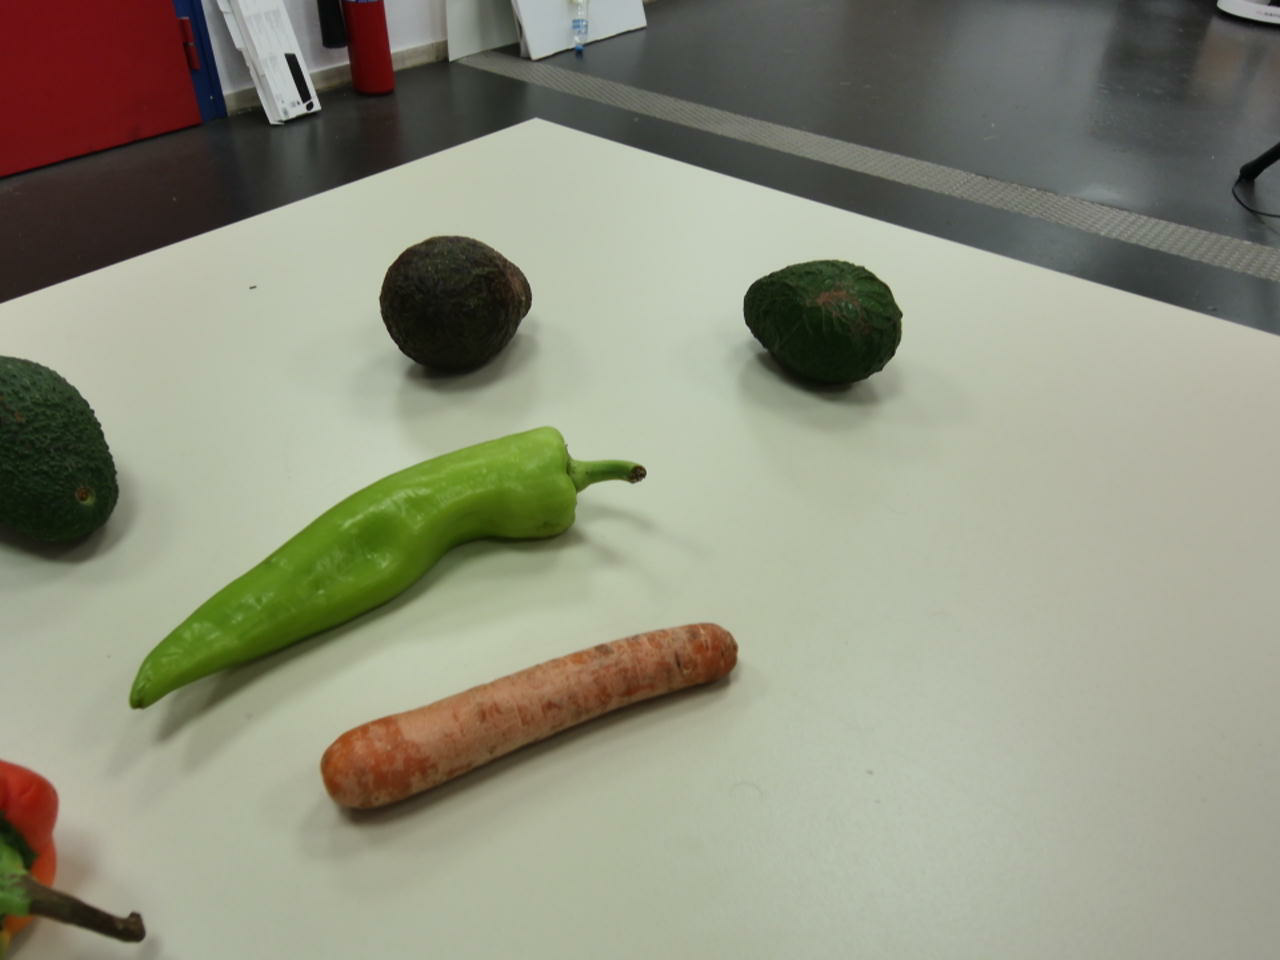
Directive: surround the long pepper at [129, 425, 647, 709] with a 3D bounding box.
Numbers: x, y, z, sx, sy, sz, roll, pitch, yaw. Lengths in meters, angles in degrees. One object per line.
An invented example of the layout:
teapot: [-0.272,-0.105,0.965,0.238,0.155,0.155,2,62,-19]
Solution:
long pepper: [-0.096,0.024,0.387,0.204,0.045,0.065,-22,42,-29]
